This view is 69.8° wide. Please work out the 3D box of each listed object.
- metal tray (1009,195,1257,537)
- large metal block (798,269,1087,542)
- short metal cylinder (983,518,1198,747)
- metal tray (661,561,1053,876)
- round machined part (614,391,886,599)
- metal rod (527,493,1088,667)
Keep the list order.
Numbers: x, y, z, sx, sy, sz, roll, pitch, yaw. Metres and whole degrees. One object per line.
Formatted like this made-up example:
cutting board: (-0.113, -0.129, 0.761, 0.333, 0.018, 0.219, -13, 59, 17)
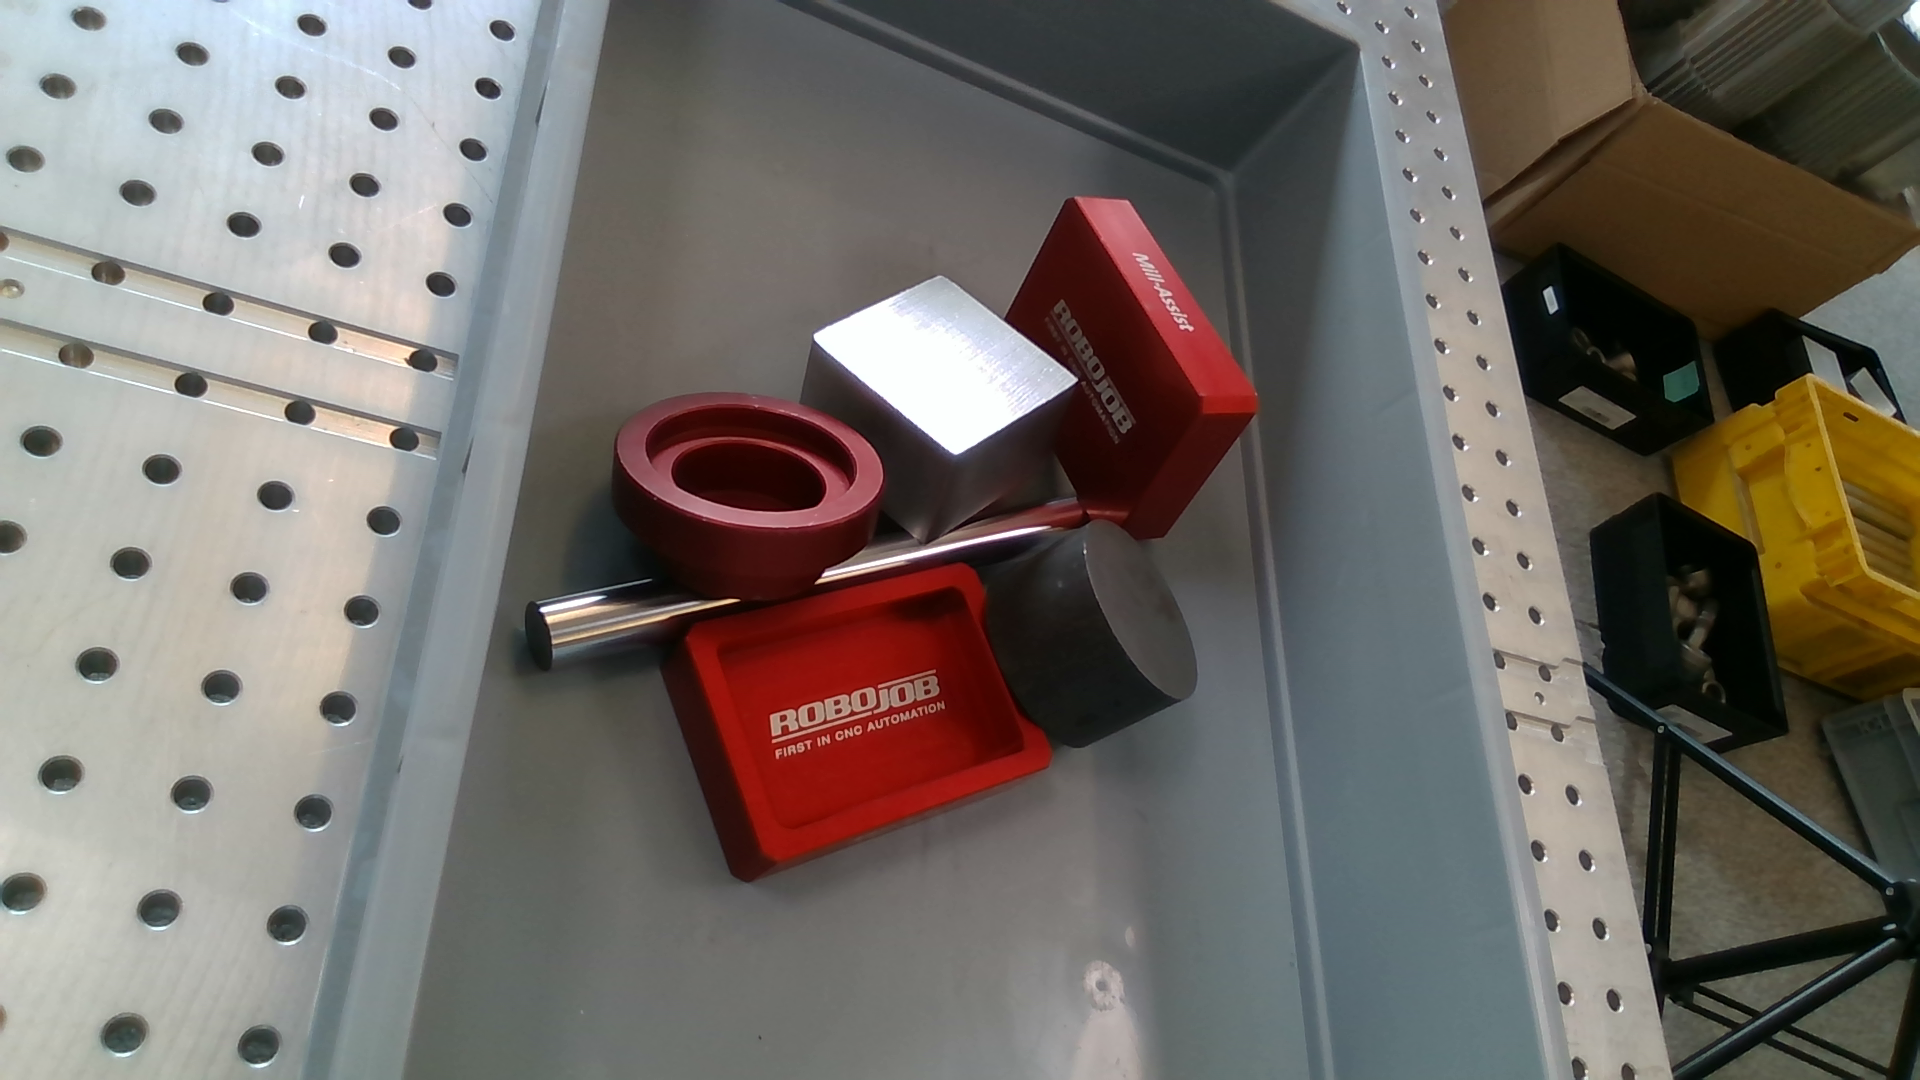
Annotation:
metal tray: (0.069, -0.076, 0.608, 0.030, 0.090, 0.130, -5, 53, -31)
large metal block: (-0.009, -0.058, 0.571, 0.080, 0.050, 0.080, 42, 49, 18)
short metal cylinder: (0.054, 0.038, 0.563, 0.080, 0.050, 0.080, 42, 31, -33)
metal tray: (-0.037, 0.065, 0.524, 0.130, 0.030, 0.090, -12, 72, -36)
round machined part: (-0.080, -0.014, 0.514, 0.098, 0.042, 0.098, 10, 32, -6)
metal rod: (-0.026, 0.007, 0.565, 0.300, 0.025, 0.025, -12, 72, -36)
